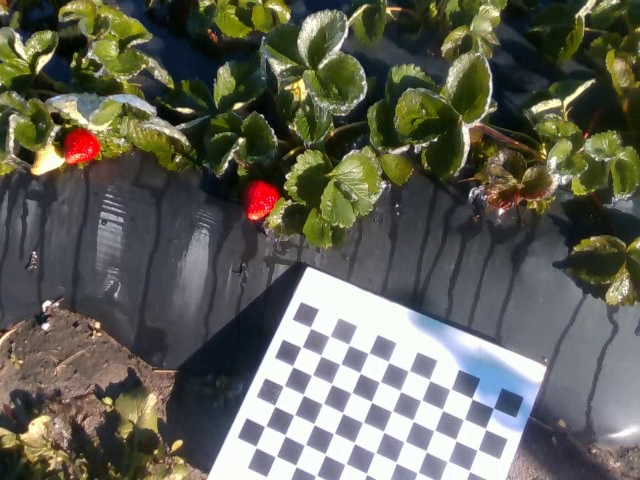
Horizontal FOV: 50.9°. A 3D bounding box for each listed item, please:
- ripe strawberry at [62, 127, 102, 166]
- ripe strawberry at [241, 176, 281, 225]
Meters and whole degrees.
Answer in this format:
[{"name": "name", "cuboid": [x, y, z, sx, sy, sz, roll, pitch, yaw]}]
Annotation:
[{"name": "ripe strawberry", "cuboid": [-0.245, -0.094, 0.678, 0.037, 0.040, 0.051, 8, 27, 7]}, {"name": "ripe strawberry", "cuboid": [-0.059, -0.037, 0.648, 0.041, 0.047, 0.053, 16, 38, 8]}]
